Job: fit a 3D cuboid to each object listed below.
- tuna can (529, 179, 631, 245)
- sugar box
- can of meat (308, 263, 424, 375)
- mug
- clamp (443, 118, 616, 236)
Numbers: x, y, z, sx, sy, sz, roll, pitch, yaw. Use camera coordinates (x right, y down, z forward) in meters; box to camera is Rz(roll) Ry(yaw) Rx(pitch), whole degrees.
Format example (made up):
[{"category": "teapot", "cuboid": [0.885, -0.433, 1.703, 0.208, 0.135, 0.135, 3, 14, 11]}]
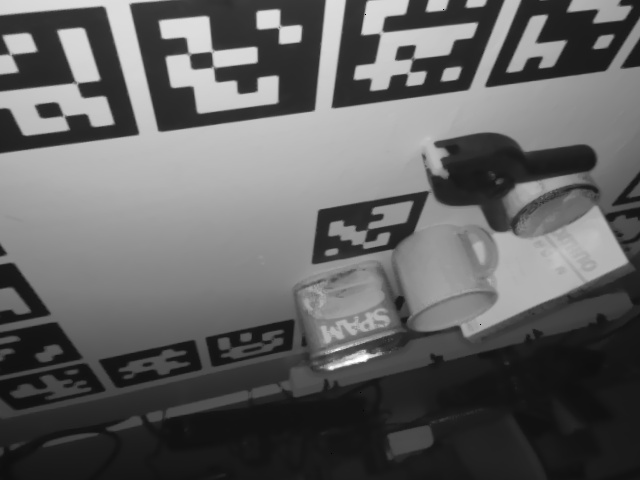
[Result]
[{"category": "tuna can", "cuboid": [0.238, -0.034, 0.641, 0.086, 0.034, 0.085, -11, 144, -7]}, {"category": "sugar box", "cuboid": [0.234, 0.035, 0.697, 0.174, 0.093, 0.046, -28, 146, 21]}, {"category": "can of meat", "cuboid": [0.042, 0.077, 0.689, 0.102, 0.084, 0.057, -11, 147, -3]}, {"category": "mug", "cuboid": [0.145, 0.041, 0.665, 0.094, 0.082, 0.115, 9, 138, -31]}, {"category": "clamp", "cuboid": [0.165, -0.059, 0.583, 0.167, 0.037, 0.120, 20, 137, -35]}]
